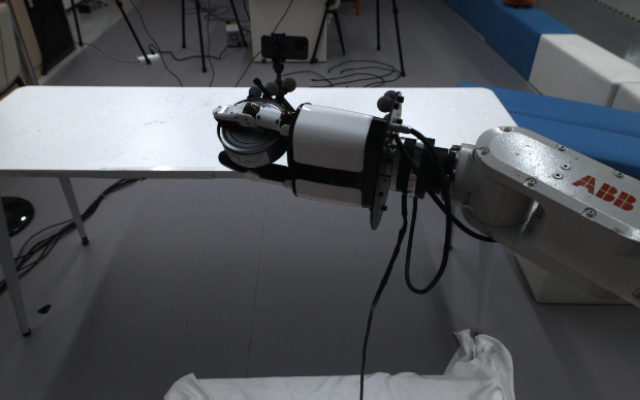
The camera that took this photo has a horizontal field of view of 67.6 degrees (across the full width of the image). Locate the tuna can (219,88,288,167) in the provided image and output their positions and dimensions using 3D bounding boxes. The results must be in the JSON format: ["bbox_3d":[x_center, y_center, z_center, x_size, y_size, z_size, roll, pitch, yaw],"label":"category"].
[{"bbox_3d":[-0.078,-0.084,0.589,0.085,0.034,0.085,-4,56,6],"label":"tuna can"}]
